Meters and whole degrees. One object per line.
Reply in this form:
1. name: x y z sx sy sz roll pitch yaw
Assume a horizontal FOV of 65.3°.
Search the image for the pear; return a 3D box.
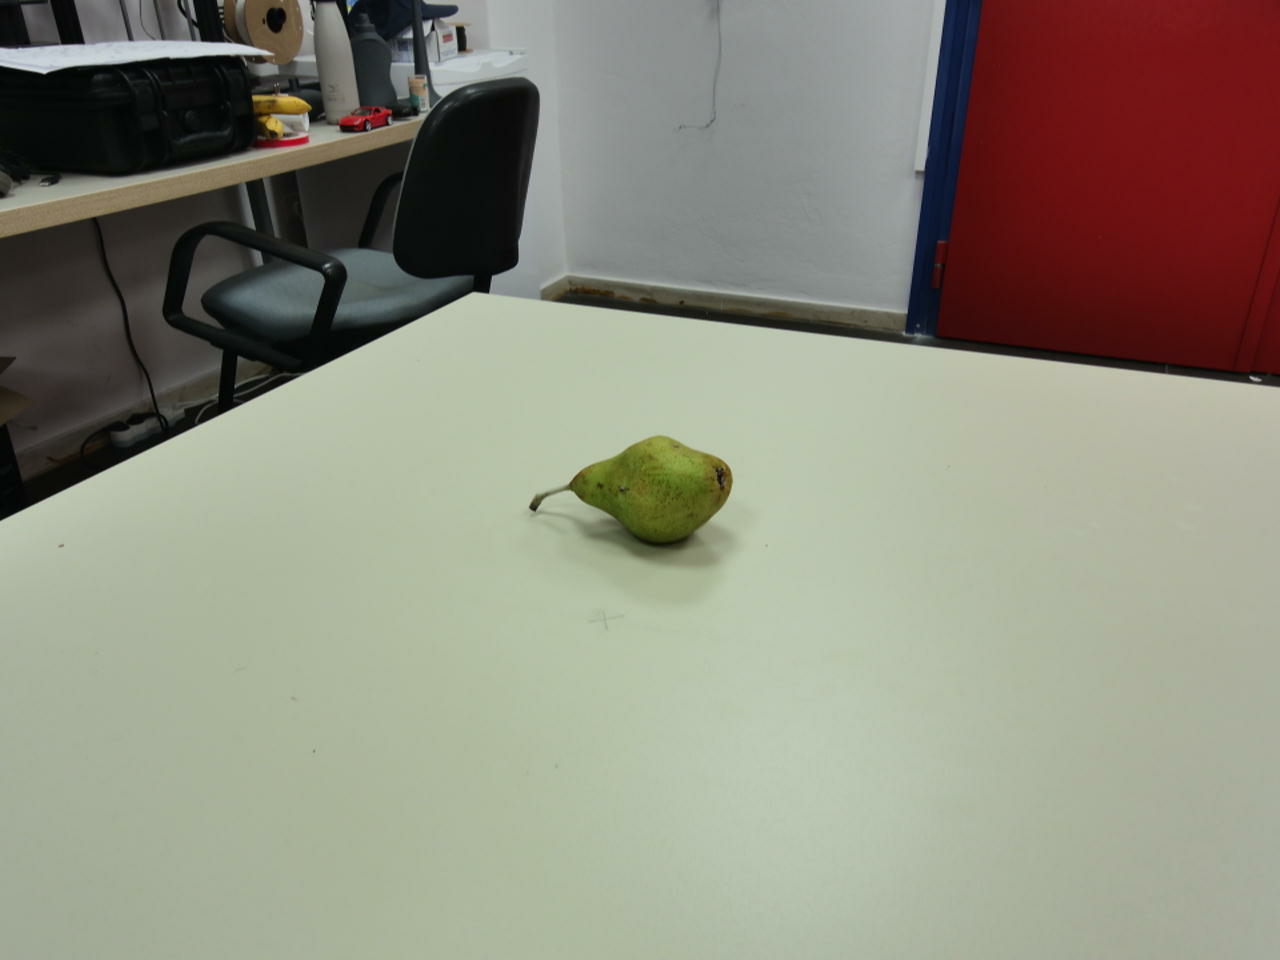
1. pear: -0.003 0.000 0.542 0.111 0.056 0.056 19 31 36
